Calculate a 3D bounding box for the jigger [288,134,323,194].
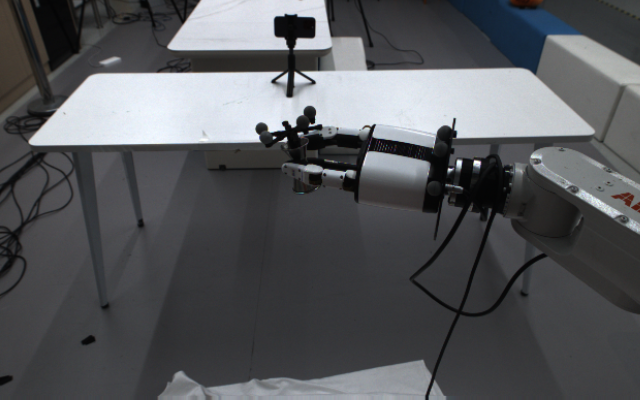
[{"bbox_3d":[-0.025,-0.048,0.669,0.043,0.071,0.043,-12,29,7],"label":"jigger"}]
